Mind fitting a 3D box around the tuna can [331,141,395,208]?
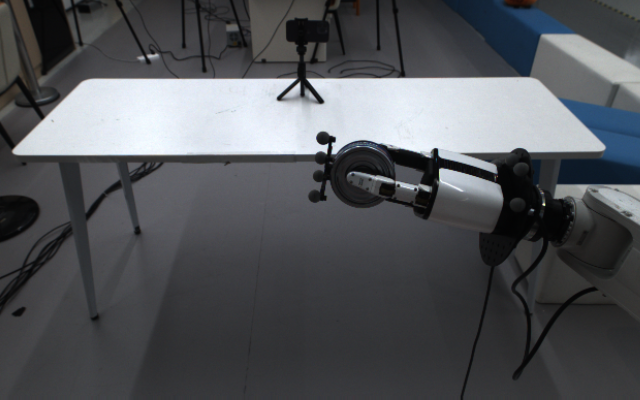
[{"bbox_3d":[0.059,-0.031,0.634,0.085,0.085,0.034,4,18,3],"label":"tuna can"}]
